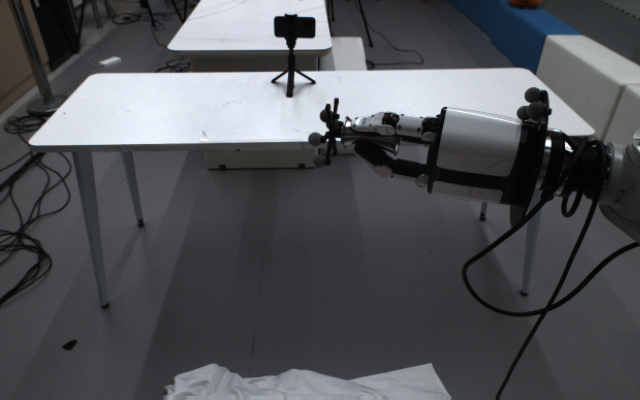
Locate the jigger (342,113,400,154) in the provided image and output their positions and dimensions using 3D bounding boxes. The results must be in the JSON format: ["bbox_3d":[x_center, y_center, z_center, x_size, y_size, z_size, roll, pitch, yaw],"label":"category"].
[{"bbox_3d":[0.067,-0.088,0.603,0.071,0.043,0.043,7,35,15],"label":"jigger"}]
